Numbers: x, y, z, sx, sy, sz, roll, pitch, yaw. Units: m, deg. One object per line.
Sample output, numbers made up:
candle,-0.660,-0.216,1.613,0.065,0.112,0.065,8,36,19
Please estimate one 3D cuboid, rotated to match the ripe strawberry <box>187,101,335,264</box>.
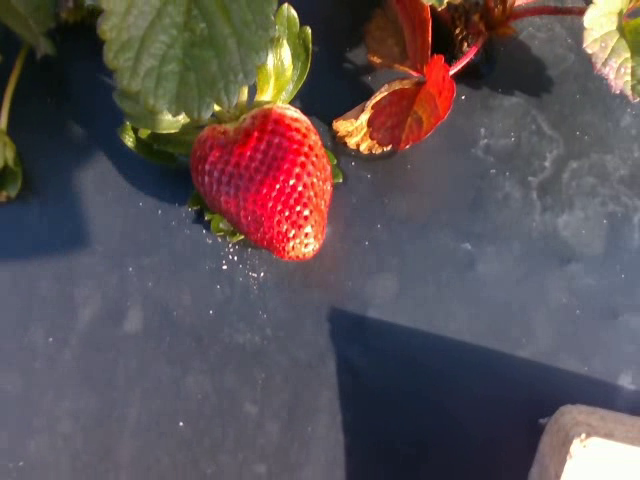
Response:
ripe strawberry,-0.014,-0.013,0.161,0.040,0.056,0.040,-38,-40,14
